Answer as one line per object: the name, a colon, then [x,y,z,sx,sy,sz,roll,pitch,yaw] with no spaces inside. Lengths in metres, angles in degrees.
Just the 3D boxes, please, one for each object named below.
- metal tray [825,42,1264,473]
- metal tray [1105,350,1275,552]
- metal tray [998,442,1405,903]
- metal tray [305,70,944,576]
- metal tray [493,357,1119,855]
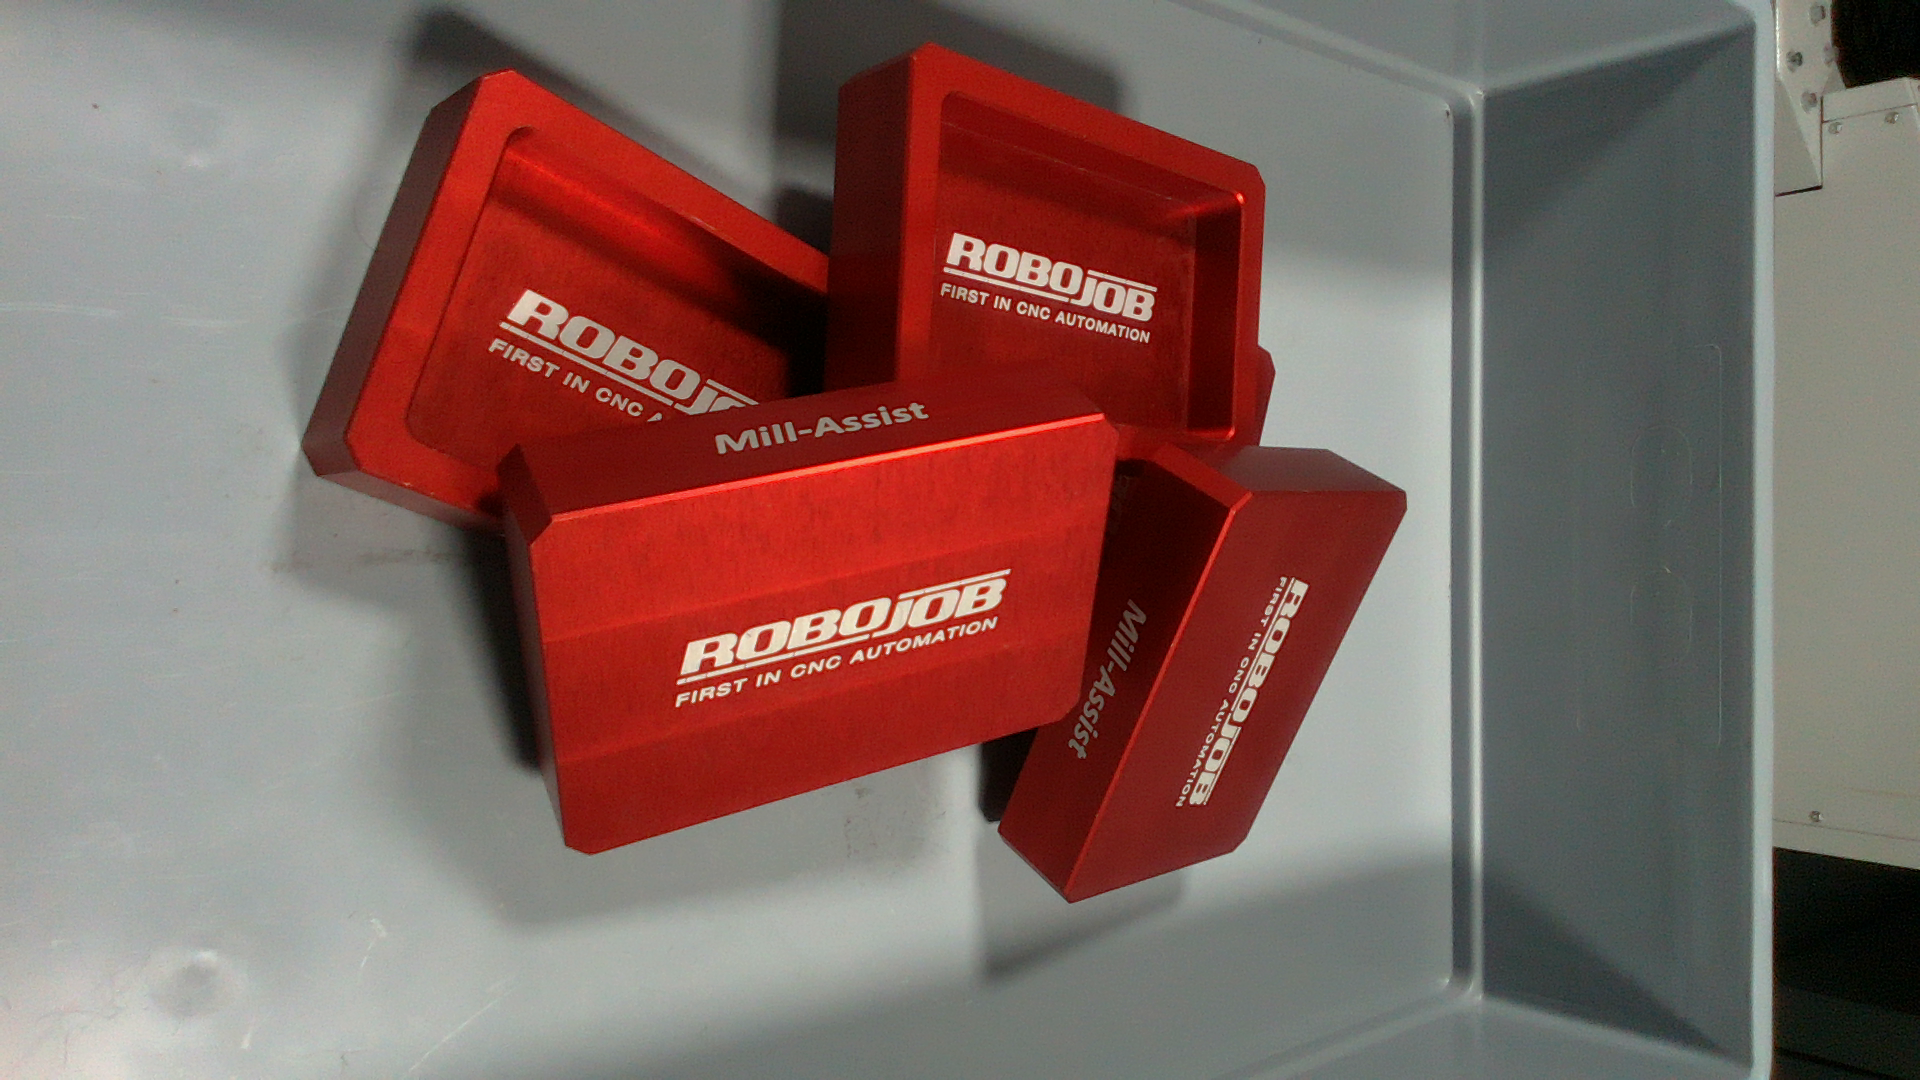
metal tray: [0.028,-0.067,0.368,0.131,0.030,0.090,5,87,-40]
metal tray: [0.046,-0.013,0.422,0.090,0.030,0.130,24,75,-37]
metal tray: [0.071,0.037,0.401,0.090,0.030,0.130,-2,120,-45]
metal tray: [-0.070,-0.035,0.324,0.130,0.030,0.090,25,74,-37]
metal tray: [-0.032,0.013,0.314,0.130,0.030,0.090,-12,128,-24]
